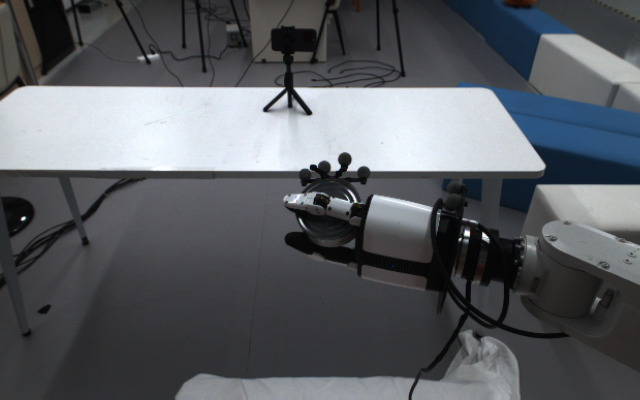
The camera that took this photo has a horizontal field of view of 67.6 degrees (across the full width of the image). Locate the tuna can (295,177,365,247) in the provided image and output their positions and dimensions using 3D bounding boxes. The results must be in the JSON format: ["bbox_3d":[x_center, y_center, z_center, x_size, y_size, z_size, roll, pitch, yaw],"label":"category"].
[{"bbox_3d":[0.014,0.016,0.620,0.085,0.034,0.085,-6,61,10],"label":"tuna can"}]
